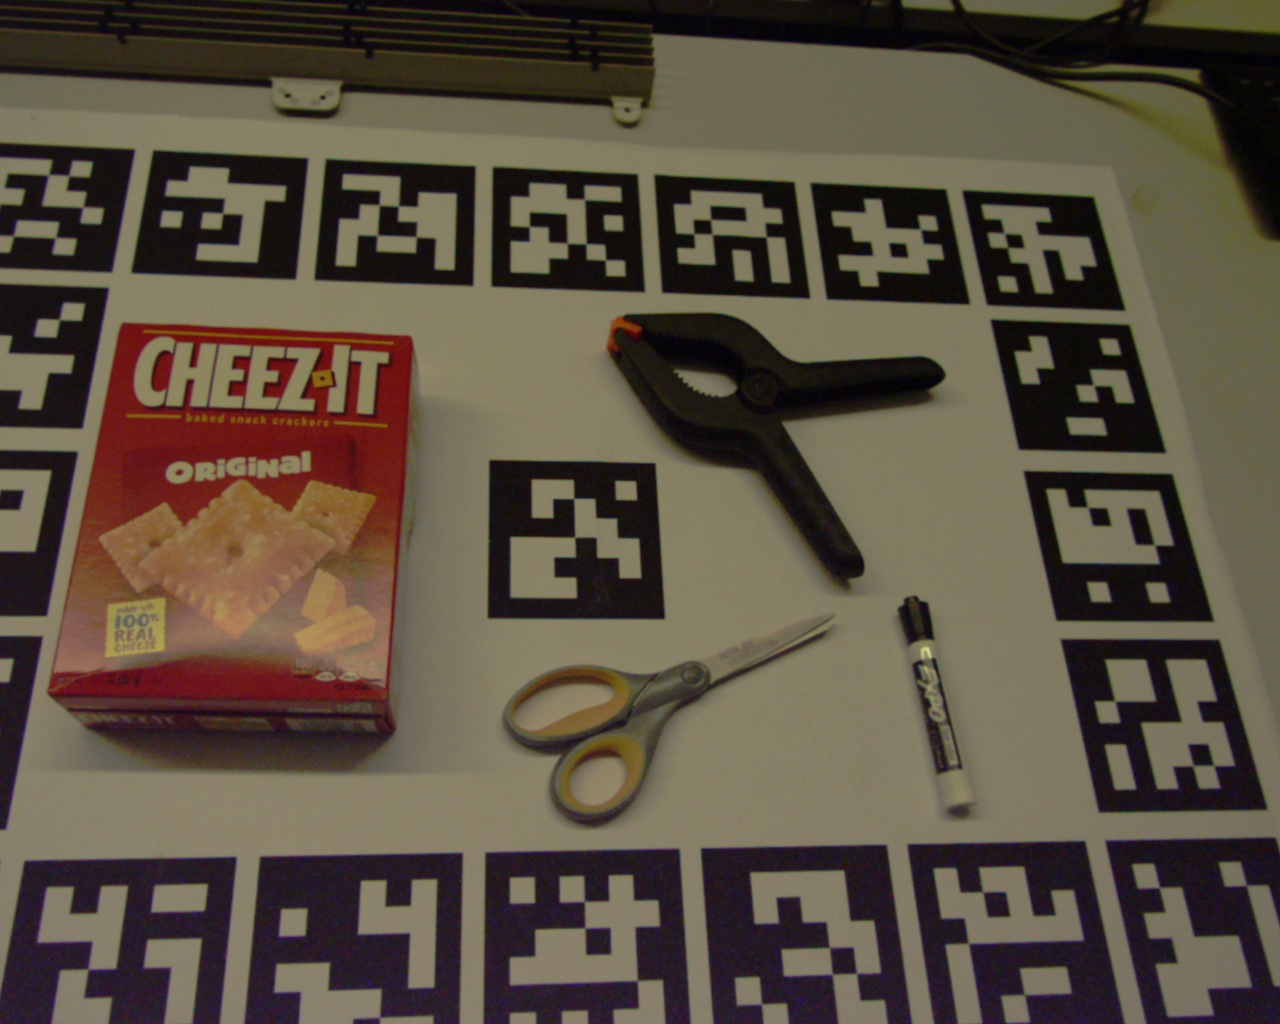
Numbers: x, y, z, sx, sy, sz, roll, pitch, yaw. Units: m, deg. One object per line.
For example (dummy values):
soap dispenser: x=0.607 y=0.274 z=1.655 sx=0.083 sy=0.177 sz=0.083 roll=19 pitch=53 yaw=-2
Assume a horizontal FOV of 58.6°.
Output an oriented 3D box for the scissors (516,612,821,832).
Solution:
scissors: x=0.024 y=0.103 z=0.660 sx=0.201 sy=0.016 sz=0.088 roll=-27 pitch=69 yaw=-21

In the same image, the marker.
marker: x=0.166 y=0.106 z=0.675 sx=0.019 sy=0.019 sz=0.121 roll=-4 pitch=64 yaw=-9

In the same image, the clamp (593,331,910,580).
clamp: x=0.061 y=-0.064 z=0.753 sx=0.203 sy=0.036 sz=0.165 roll=27 pitch=62 yaw=6

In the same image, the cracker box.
cracker box: x=-0.207 y=0.020 z=0.644 sx=0.163 sy=0.072 sz=0.214 roll=1 pitch=64 yaw=-7
